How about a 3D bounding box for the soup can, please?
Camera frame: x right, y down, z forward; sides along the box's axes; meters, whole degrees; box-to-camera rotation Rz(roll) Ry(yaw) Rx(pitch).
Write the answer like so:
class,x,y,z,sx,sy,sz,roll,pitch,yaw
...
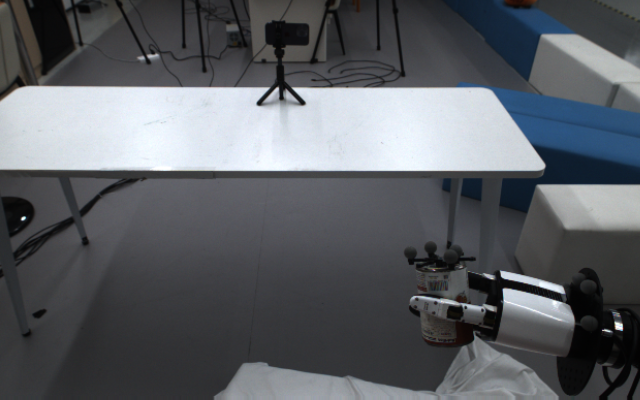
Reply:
class,x,y,z,sx,sy,sz,roll,pitch,yaw
soup can,0.167,0.133,0.640,0.067,0.101,0.067,-6,3,0
